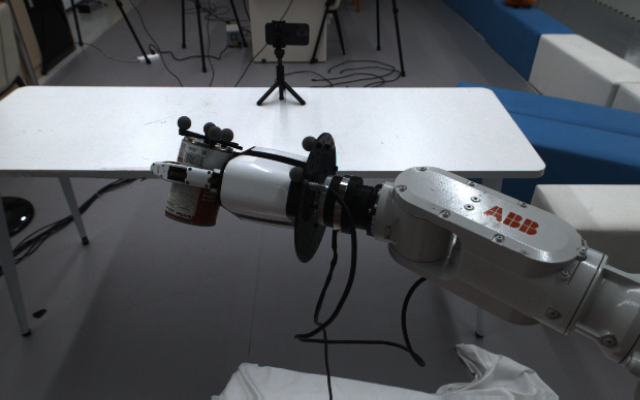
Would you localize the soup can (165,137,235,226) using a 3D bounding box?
[{"bbox_3d":[-0.154,-0.023,0.621,0.067,0.101,0.067,15,7,-2],"label":"soup can"}]
